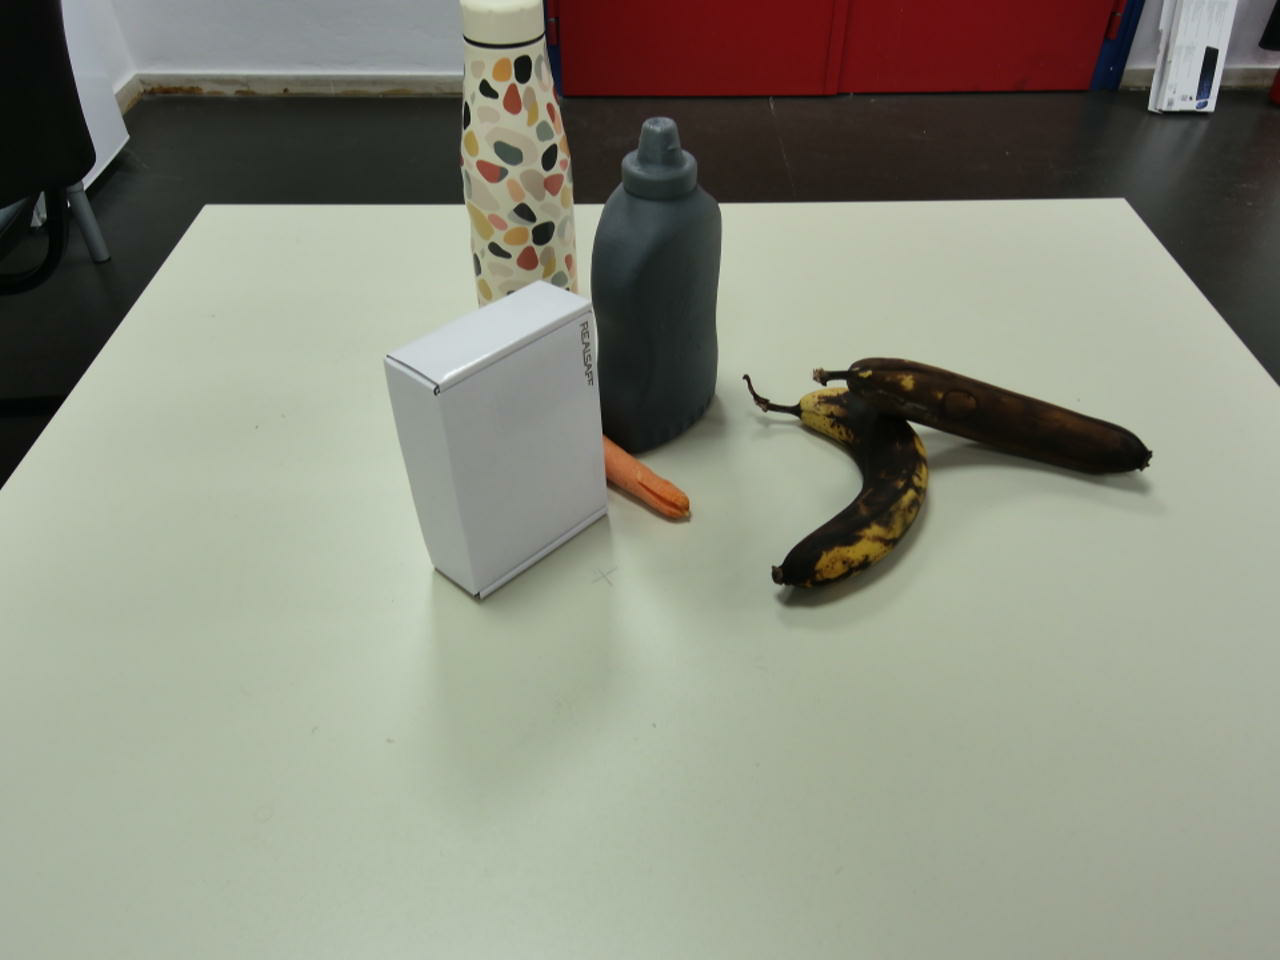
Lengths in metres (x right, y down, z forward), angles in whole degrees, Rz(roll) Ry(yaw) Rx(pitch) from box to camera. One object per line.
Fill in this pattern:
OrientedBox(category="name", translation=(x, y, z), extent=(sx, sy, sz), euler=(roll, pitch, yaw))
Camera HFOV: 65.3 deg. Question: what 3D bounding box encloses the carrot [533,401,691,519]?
OrientedBox(category="carrot", translation=(-0.021, -0.015, 0.632), extent=(0.030, 0.032, 0.136), euler=(-32, 49, -33))
